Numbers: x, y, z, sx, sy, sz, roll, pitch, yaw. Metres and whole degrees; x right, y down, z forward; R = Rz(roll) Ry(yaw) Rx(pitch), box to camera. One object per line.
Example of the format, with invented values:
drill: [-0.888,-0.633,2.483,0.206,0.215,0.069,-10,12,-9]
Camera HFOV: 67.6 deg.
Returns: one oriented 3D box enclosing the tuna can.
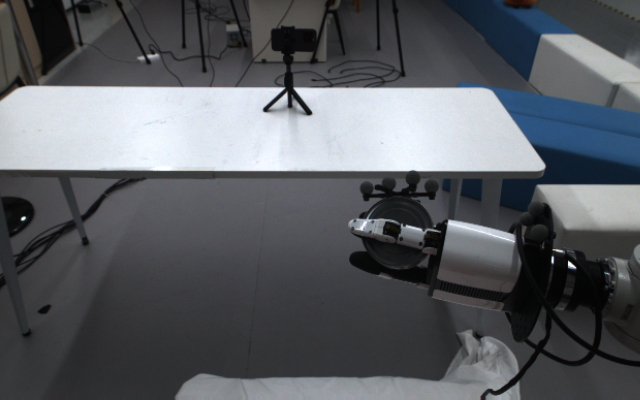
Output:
tuna can: [0.095,0.039,0.584,0.085,0.034,0.085,-5,71,15]
